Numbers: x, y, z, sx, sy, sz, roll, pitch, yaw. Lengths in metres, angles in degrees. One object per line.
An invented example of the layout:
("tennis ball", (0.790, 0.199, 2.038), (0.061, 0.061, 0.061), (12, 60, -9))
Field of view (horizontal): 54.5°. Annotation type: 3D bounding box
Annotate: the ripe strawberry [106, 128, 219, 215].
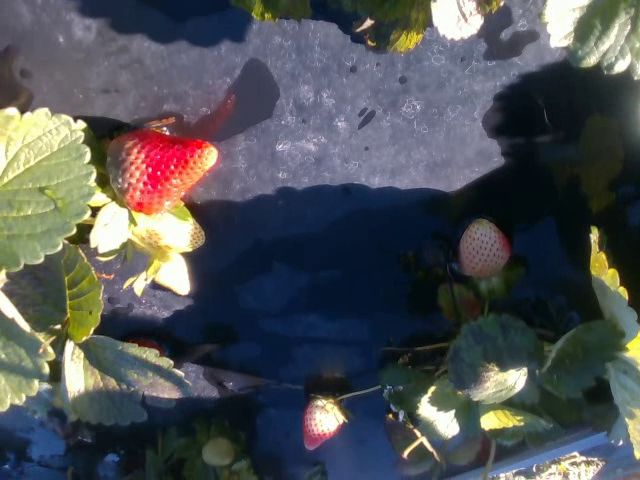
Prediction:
("ripe strawberry", (-0.073, -0.037, 0.295), (0.064, 0.052, 0.050), (-18, -16, 25))
